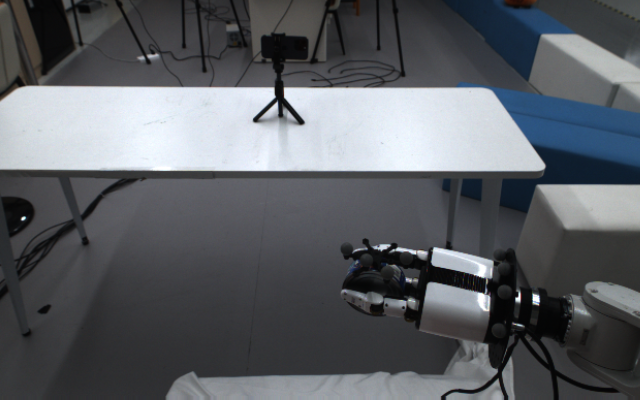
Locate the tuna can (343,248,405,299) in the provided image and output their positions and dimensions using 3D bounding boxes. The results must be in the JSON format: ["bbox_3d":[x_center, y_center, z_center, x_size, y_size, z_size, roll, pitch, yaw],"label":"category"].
[{"bbox_3d":[0.078,0.117,0.674,0.085,0.085,0.034,10,34,12],"label":"tuna can"}]
